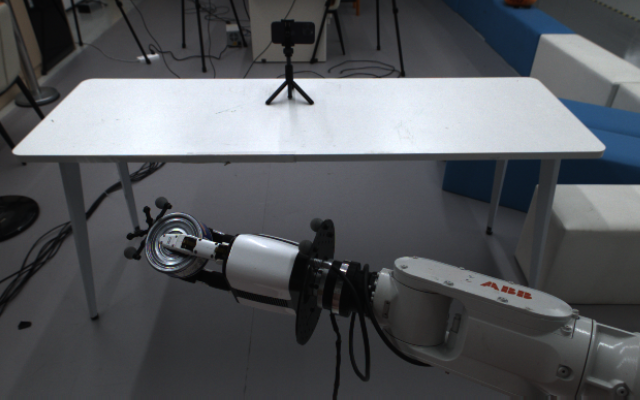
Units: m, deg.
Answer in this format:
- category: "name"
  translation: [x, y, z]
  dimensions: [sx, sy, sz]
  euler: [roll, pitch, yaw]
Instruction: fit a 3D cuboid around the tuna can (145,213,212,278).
- category: "tuna can"
  translation: [-0.189, 0.060, 0.654]
  dimensions: [0.085, 0.034, 0.085]
  euler: [-3, 71, 10]
